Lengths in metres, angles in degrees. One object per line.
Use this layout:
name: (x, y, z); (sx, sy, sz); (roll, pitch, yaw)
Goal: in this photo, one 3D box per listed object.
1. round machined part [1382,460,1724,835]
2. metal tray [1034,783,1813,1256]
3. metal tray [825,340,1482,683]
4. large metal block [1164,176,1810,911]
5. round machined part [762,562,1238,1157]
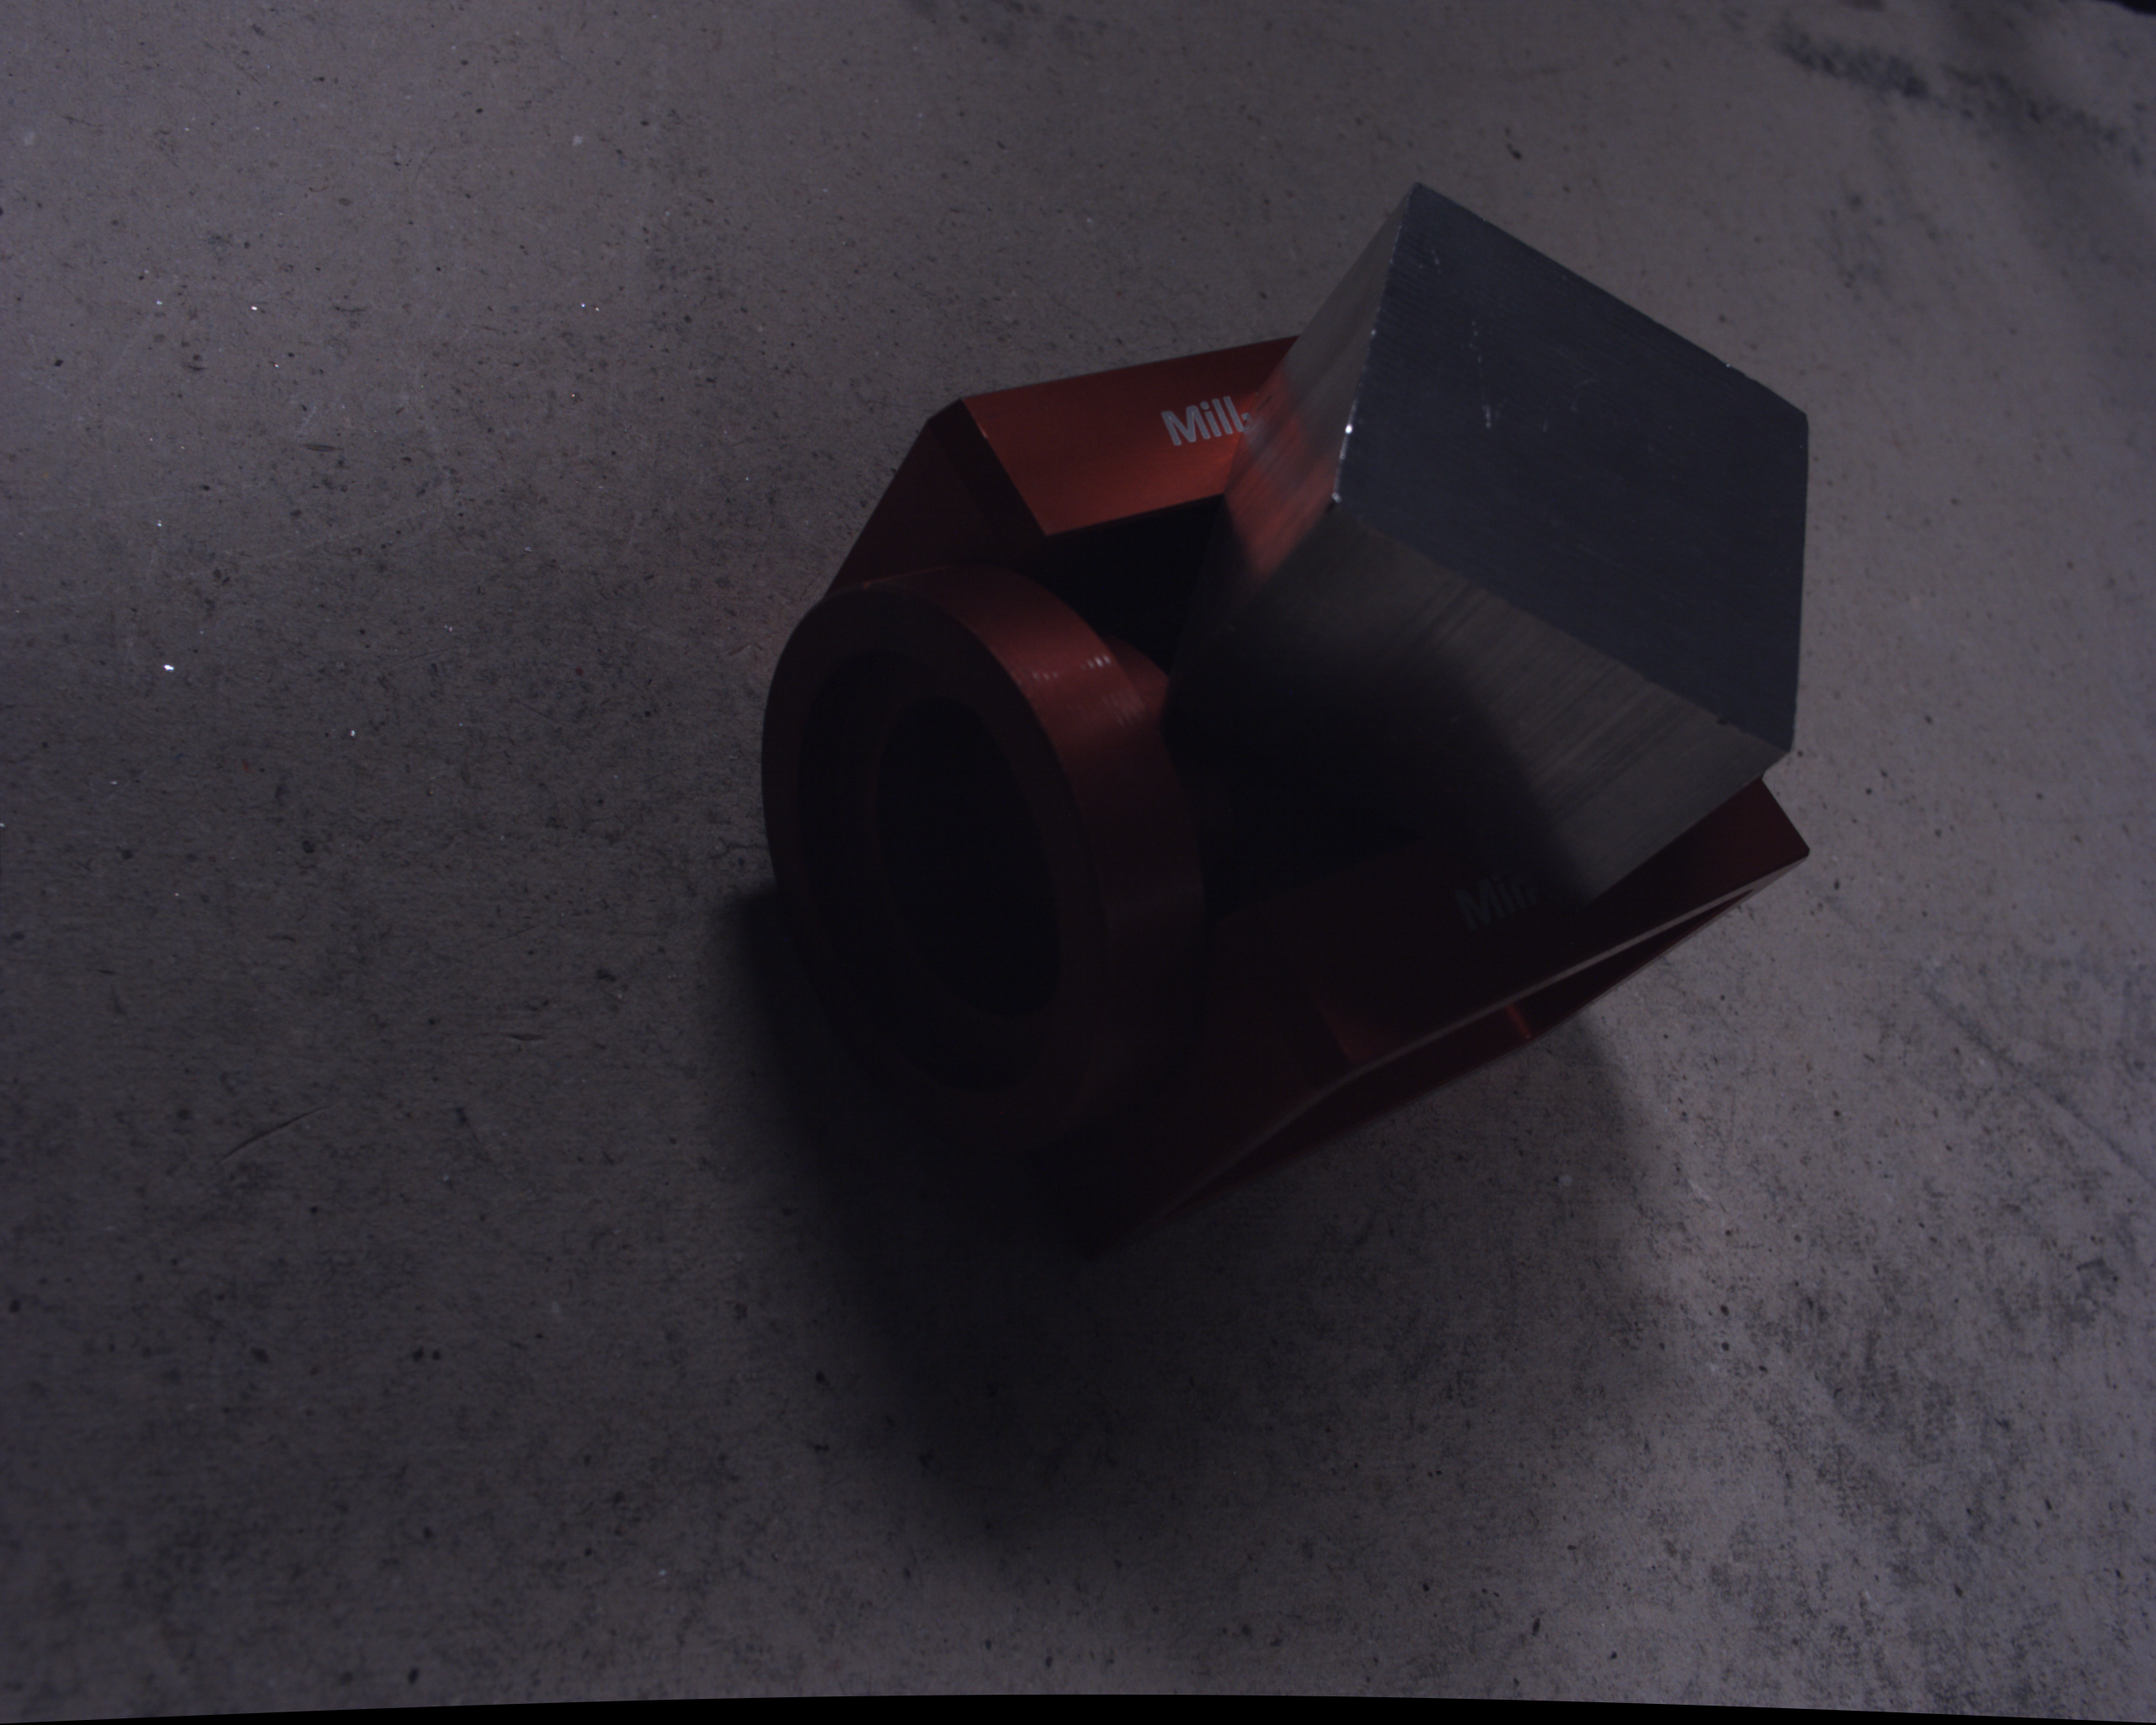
round machined part: (0.091, -0.038, 0.432); (0.042, 0.097, 0.098); (-17, 71, -35)
metal tray: (0.062, 0.022, 0.383); (0.131, 0.090, 0.030); (-19, 72, -36)
metal tray: (0.014, -0.060, 0.411); (0.131, 0.090, 0.030); (-20, 73, -36)
large metal block: (0.069, -0.052, 0.341); (0.080, 0.050, 0.080); (26, 52, -12)
round machined part: (-0.011, -0.003, 0.355); (0.042, 0.097, 0.098); (-17, 71, -35)
